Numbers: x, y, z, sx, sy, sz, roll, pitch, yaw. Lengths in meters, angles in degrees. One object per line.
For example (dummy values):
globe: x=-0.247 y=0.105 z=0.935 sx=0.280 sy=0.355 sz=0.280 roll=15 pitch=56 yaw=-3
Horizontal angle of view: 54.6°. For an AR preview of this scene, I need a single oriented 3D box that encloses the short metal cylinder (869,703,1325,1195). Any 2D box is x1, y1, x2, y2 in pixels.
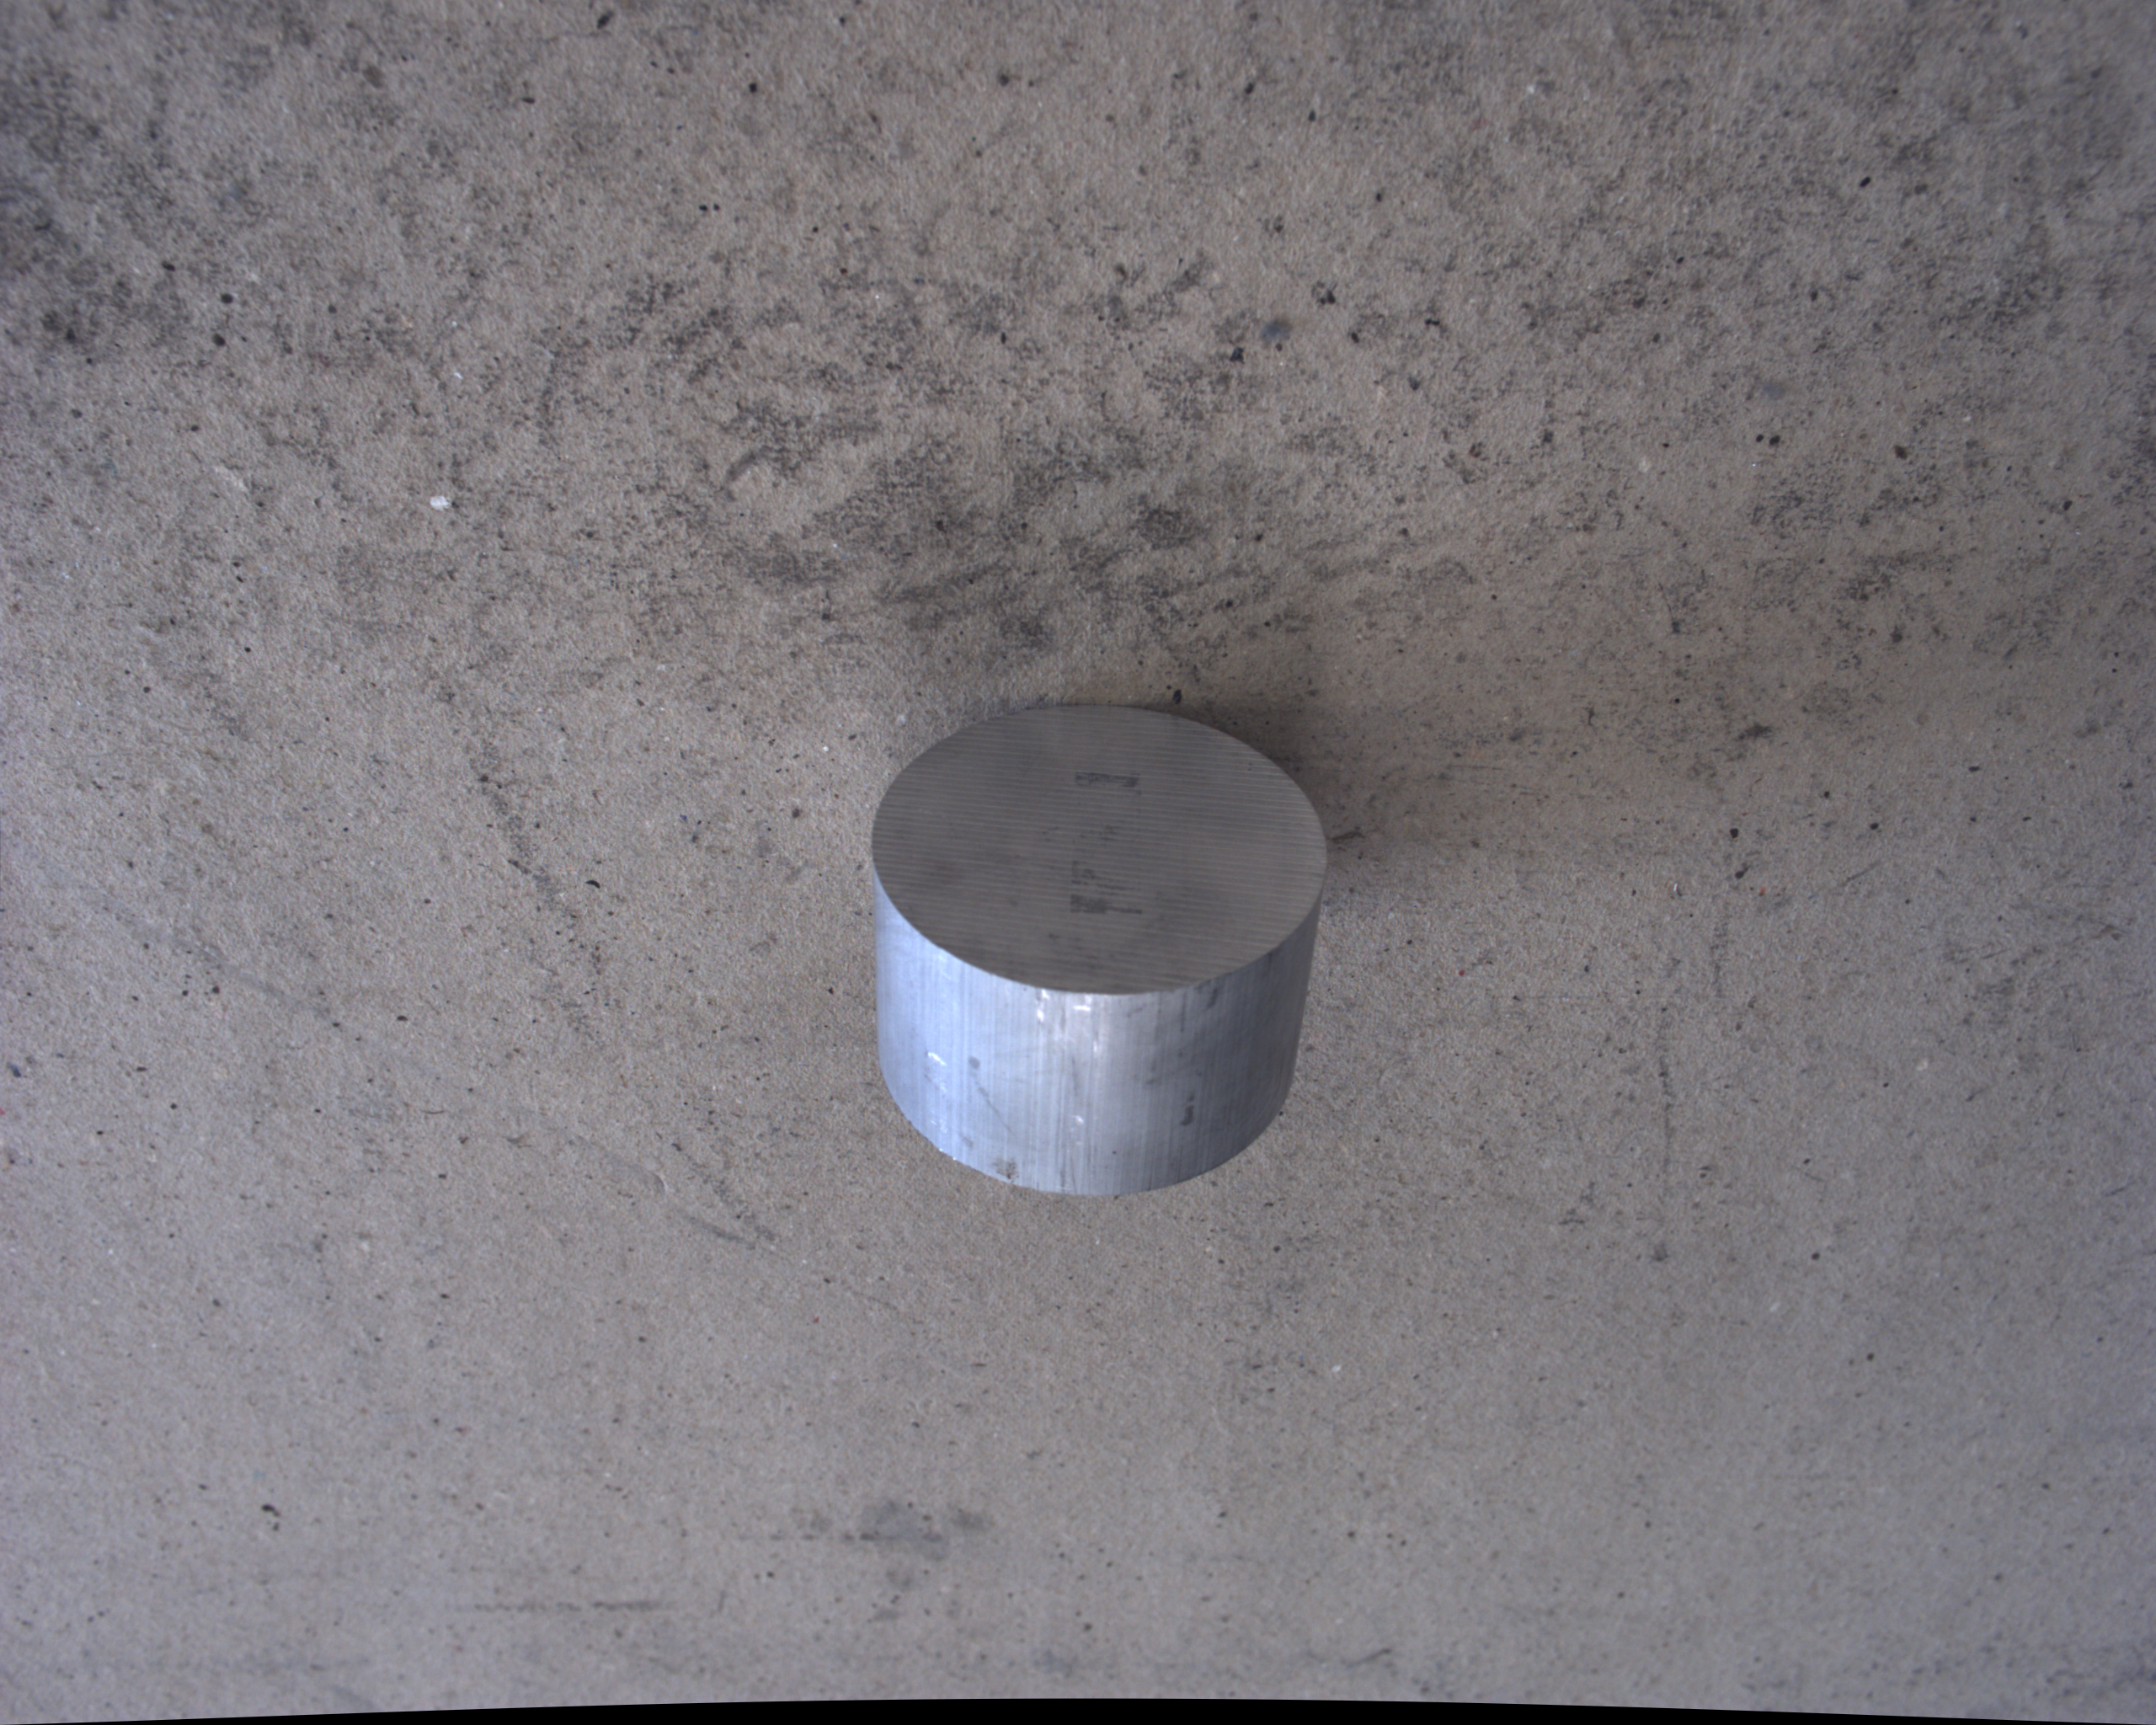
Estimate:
short metal cylinder: x=0.003 y=0.014 z=0.385 sx=0.080 sy=0.080 sz=0.050 roll=1 pitch=130 yaw=-1
